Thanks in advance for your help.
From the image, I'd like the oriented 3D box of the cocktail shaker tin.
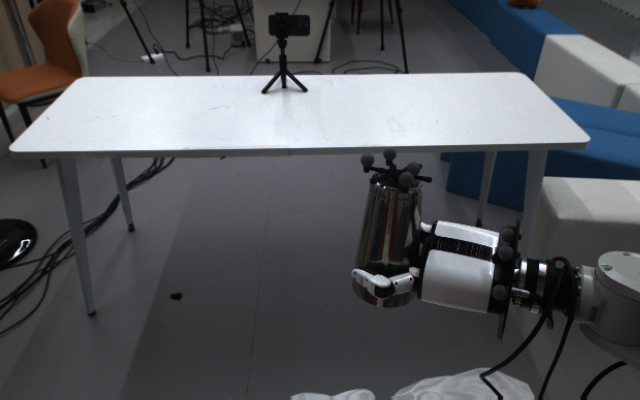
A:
[{"bbox_3d":[0.096,0.049,0.654,0.093,0.170,0.093,1,28,-1],"label":"cocktail shaker tin"}]
